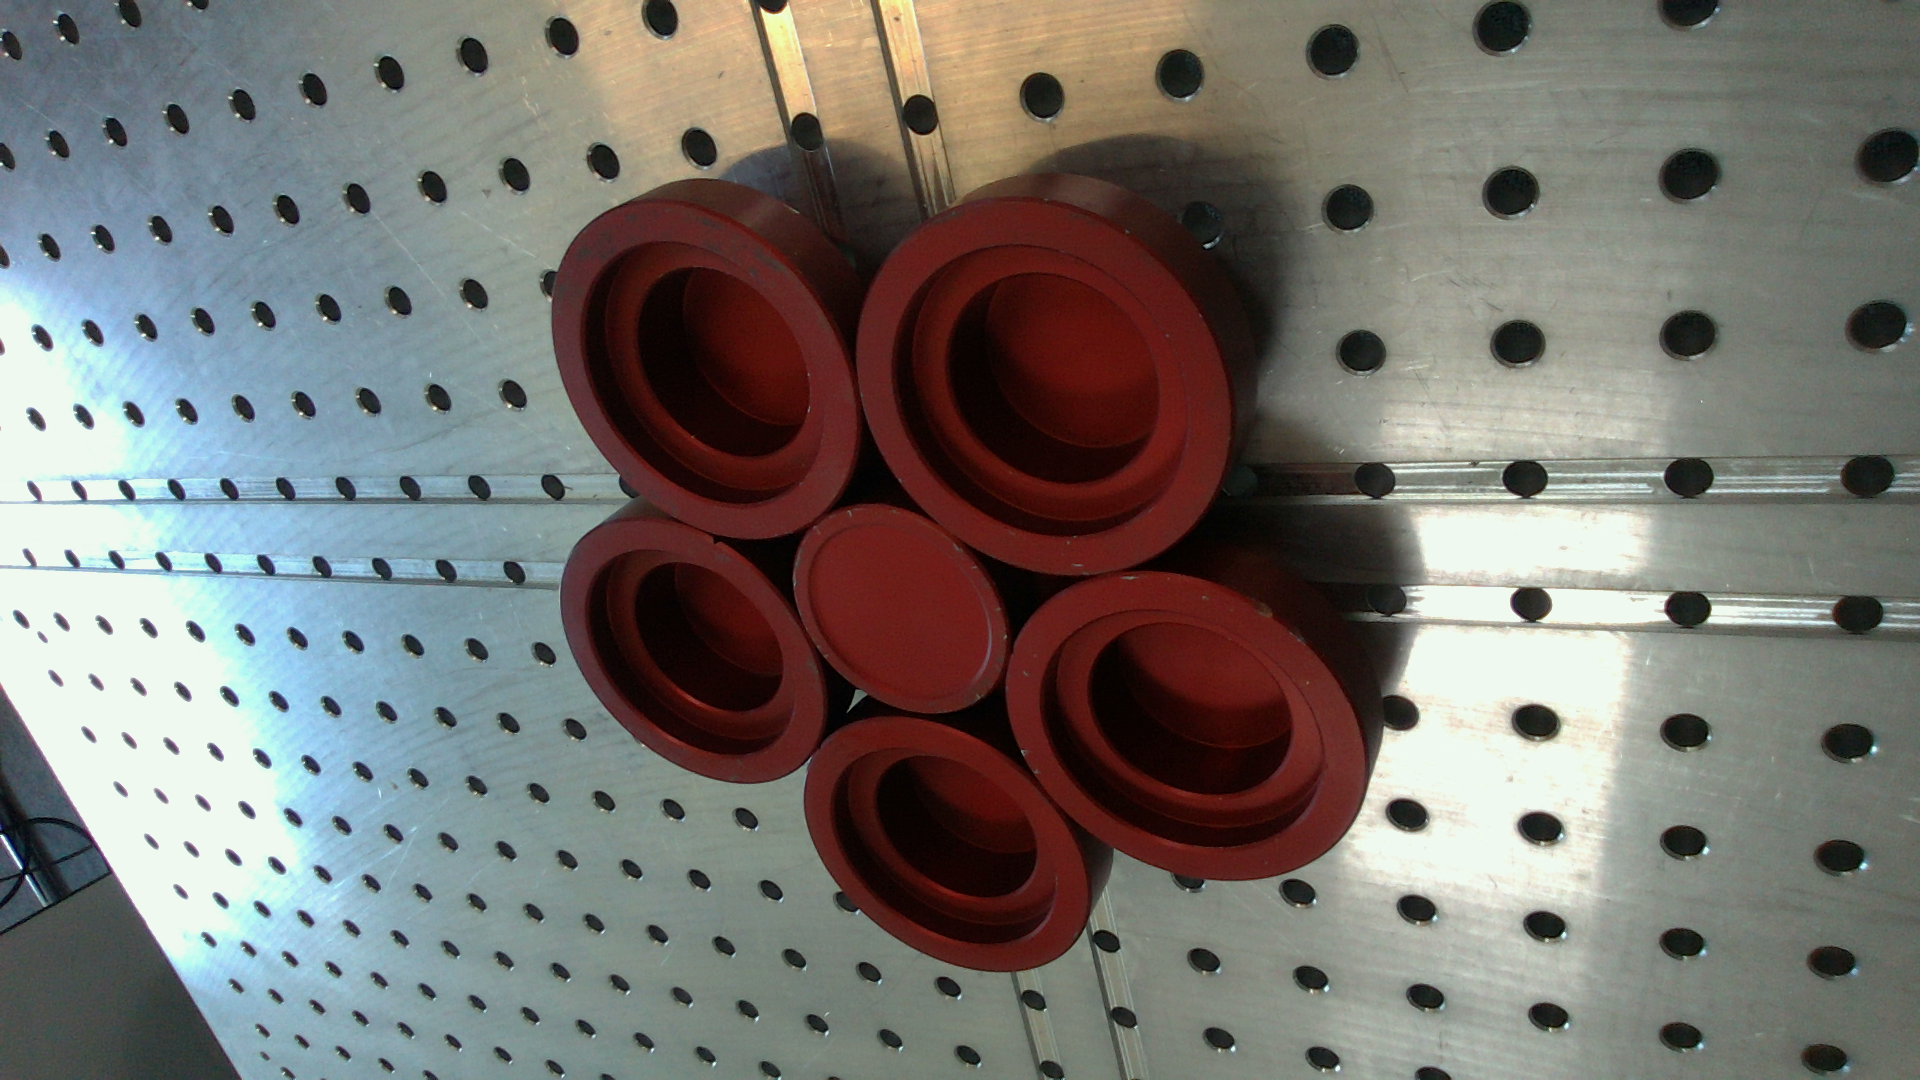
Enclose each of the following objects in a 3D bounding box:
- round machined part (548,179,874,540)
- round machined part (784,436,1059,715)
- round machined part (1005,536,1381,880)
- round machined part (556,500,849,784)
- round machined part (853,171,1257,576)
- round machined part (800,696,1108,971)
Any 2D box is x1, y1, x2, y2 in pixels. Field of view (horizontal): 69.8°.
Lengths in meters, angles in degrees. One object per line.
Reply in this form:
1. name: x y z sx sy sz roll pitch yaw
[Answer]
1. round machined part: -0.062 -0.053 0.386 0.098 0.042 0.098 13 124 21
2. round machined part: -0.010 0.011 0.396 0.098 0.042 0.098 13 124 21
3. round machined part: 0.065 0.041 0.375 0.098 0.042 0.098 13 124 21
4. round machined part: -0.077 0.027 0.442 0.098 0.042 0.098 13 124 21
5. round machined part: 0.026 -0.044 0.344 0.098 0.042 0.098 13 124 21
6. round machined part: 0.002 0.085 0.436 0.098 0.042 0.098 13 124 21
